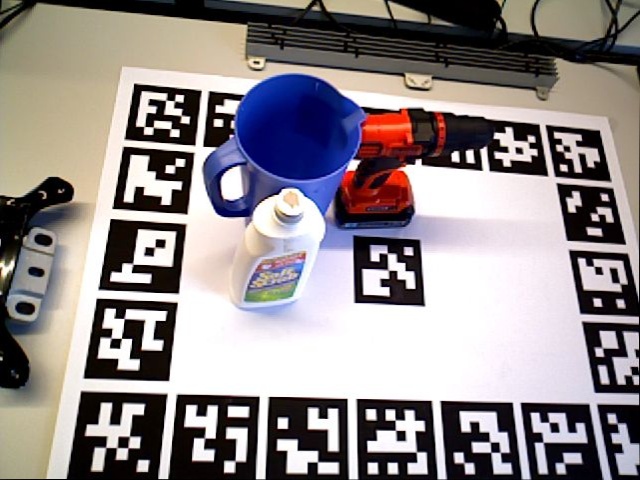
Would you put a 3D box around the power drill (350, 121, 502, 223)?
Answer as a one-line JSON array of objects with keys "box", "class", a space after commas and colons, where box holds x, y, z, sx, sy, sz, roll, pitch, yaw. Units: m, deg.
[{"box": [0.126, -0.080, 0.677, 0.182, 0.190, 0.057, 0, 70, -15], "class": "power drill"}]

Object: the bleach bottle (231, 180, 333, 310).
[{"box": [-0.044, 0.009, 0.584, 0.101, 0.255, 0.067, -4, 69, -11], "class": "bleach bottle"}]

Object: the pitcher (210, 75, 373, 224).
[{"box": [-0.037, -0.076, 0.640, 0.186, 0.247, 0.133, -23, 75, -17], "class": "pitcher"}]
